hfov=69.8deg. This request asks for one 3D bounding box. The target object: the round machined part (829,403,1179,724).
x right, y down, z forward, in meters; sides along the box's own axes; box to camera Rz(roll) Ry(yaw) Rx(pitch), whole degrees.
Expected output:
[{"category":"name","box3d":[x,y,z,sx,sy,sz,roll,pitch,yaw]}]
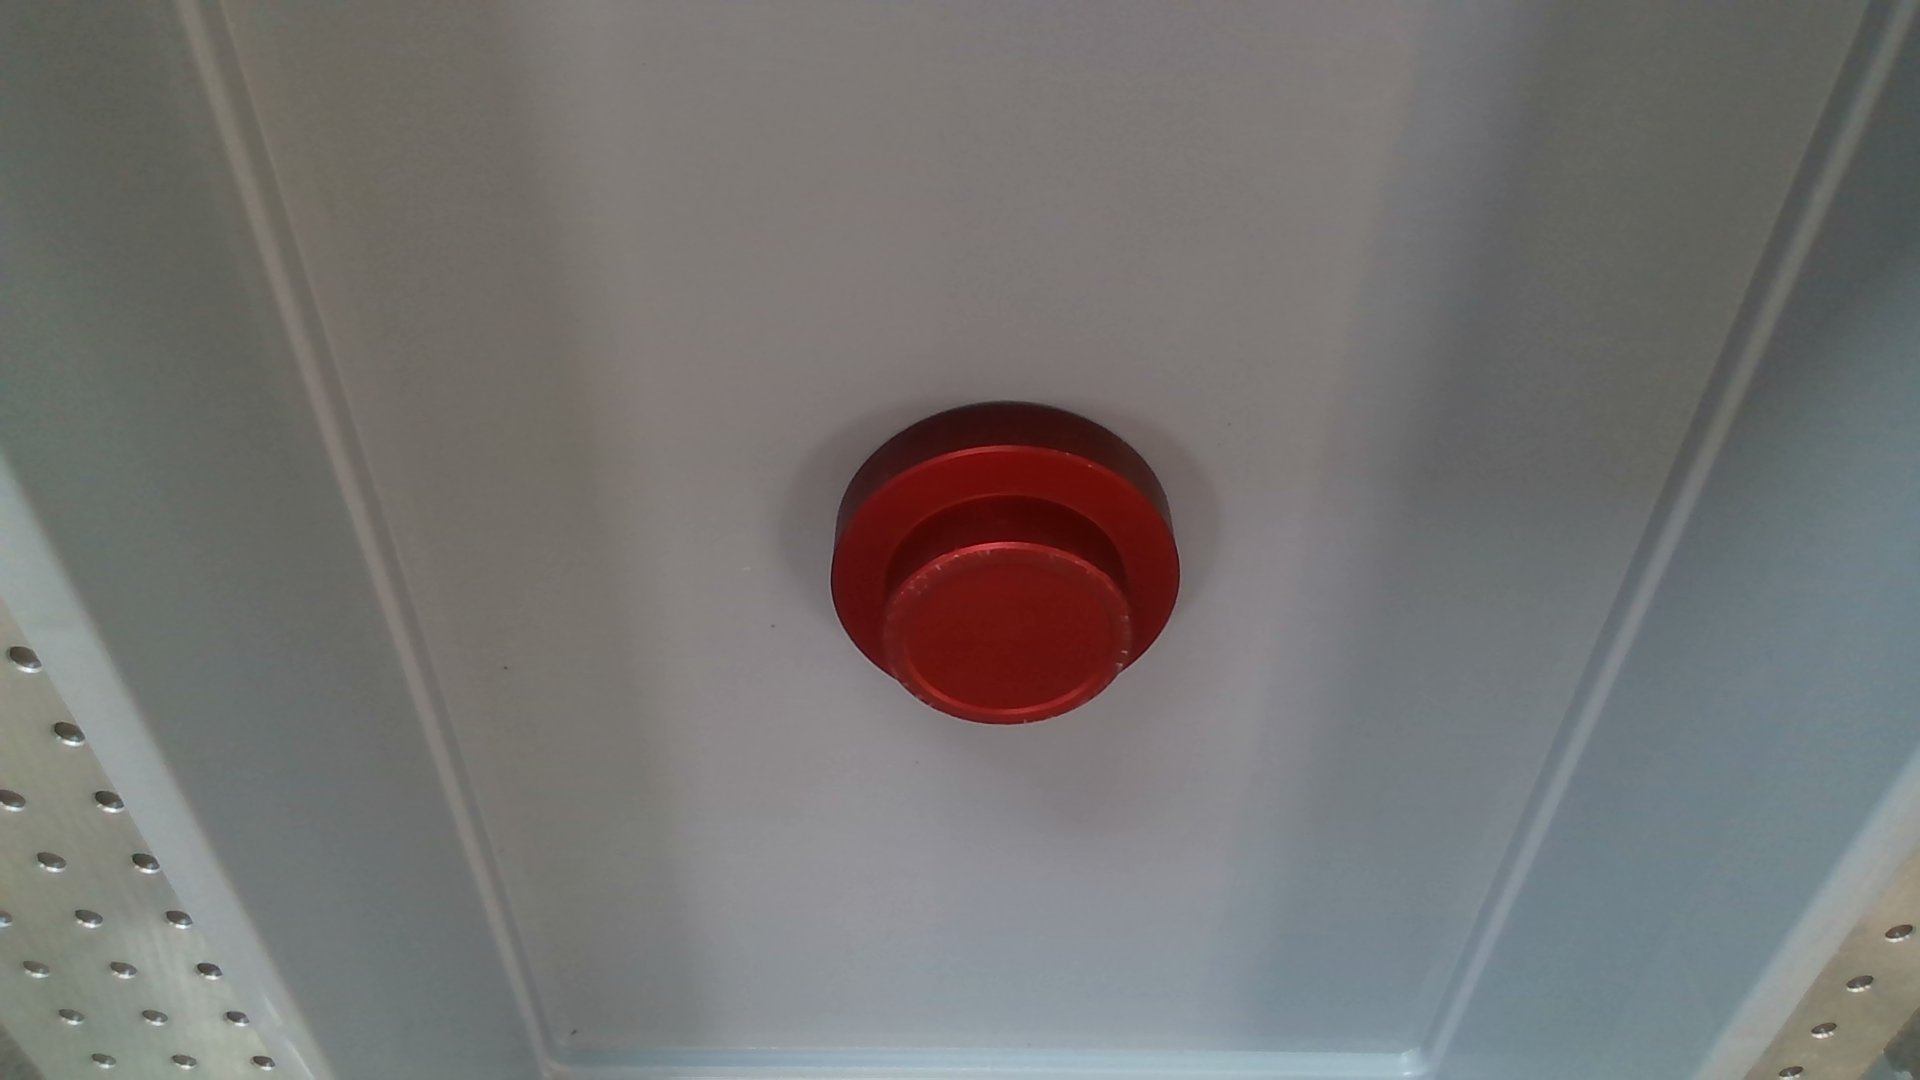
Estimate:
[{"category":"round machined part","box3d":[0.012,0.014,0.385,0.098,0.042,0.098,0,130,0]}]
